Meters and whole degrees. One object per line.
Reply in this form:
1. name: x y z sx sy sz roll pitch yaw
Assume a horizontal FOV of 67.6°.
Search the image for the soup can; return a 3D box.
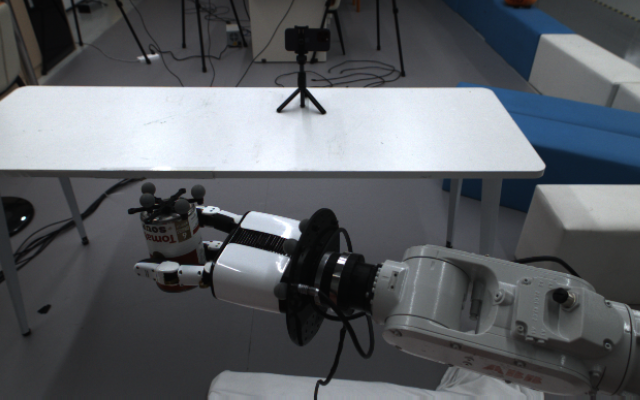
1. soup can: -0.180 0.057 0.611 0.067 0.101 0.067 -3 26 2
